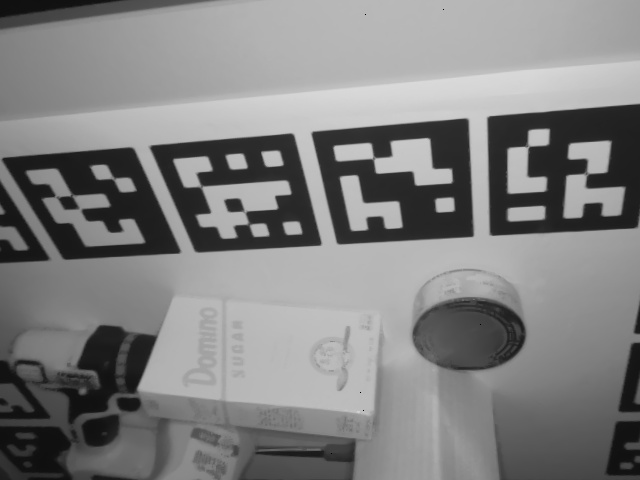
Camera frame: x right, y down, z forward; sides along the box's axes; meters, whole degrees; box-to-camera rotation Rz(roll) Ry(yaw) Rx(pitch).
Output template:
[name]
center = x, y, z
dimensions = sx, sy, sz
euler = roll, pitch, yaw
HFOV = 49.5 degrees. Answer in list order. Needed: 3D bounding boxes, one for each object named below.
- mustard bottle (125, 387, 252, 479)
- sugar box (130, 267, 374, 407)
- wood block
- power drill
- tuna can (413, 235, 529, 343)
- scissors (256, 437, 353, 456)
[mustard bottle]
center = -0.121, 0.214, 0.611
dimensions = 0.097, 0.193, 0.057
euler = 36, 123, -19
[sugar box]
center = -0.049, 0.073, 0.546
dimensions = 0.176, 0.094, 0.045
euler = 6, 132, 4
[wood block]
center = 0.086, 0.171, 0.546
dimensions = 0.090, 0.208, 0.090
euler = -30, 118, 27
[power drill]
center = -0.170, 0.142, 0.634
dimensions = 0.185, 0.058, 0.185
euler = 6, 121, 2
[tuna can]
center = 0.115, 0.038, 0.533
dimensions = 0.085, 0.034, 0.085
euler = 3, 128, 5
[scissors]
center = 0.035, 0.202, 0.686
dimensions = 0.202, 0.016, 0.087
euler = -3, 132, 9
